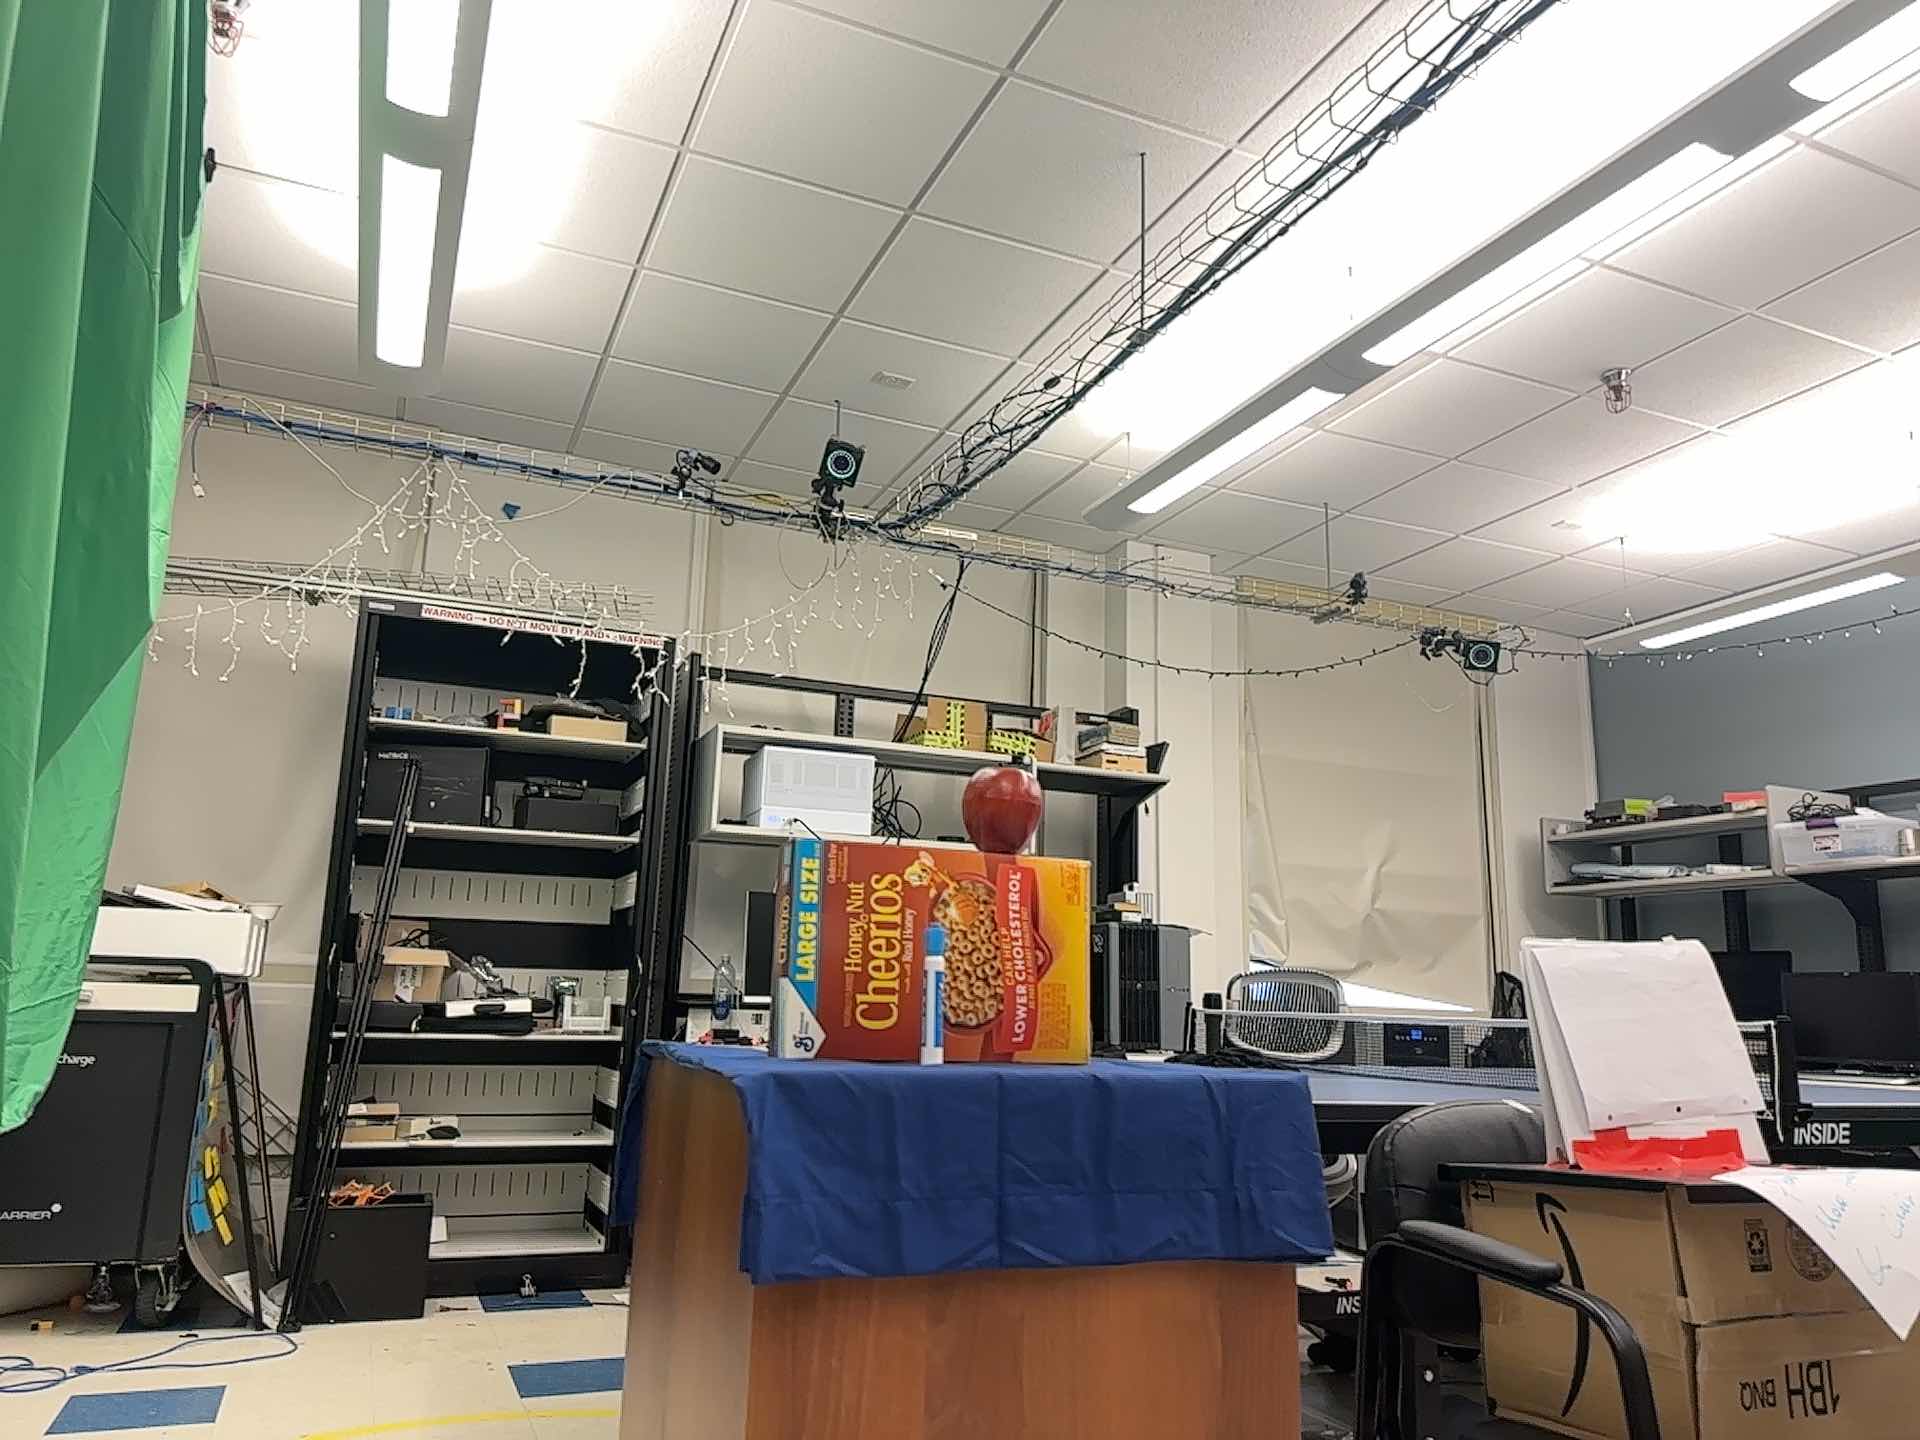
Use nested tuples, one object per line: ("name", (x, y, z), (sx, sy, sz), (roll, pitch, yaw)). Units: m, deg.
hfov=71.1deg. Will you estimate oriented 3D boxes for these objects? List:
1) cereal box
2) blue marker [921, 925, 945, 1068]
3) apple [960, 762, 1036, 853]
("cereal box", (-0.024, 0.223, 1.272), (0.297, 0.195, 0.065), (8, -16, -24))
("blue marker", (-0.024, 0.239, 1.167), (0.020, 0.121, 0.020), (0, -14, 0))
("apple", (0.038, 0.087, 1.332), (0.079, 0.093, 0.079), (3, -13, 1))
